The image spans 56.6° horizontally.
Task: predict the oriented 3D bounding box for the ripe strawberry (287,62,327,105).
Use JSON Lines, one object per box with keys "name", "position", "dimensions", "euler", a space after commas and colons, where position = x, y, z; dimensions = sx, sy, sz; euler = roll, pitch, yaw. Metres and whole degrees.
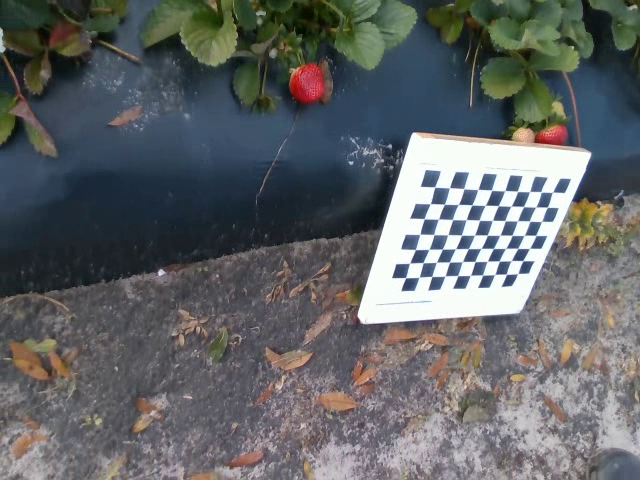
{"name": "ripe strawberry", "position": [-0.017, -0.193, 0.731], "dimensions": [0.050, 0.053, 0.049], "euler": [-8, -39, -24]}
